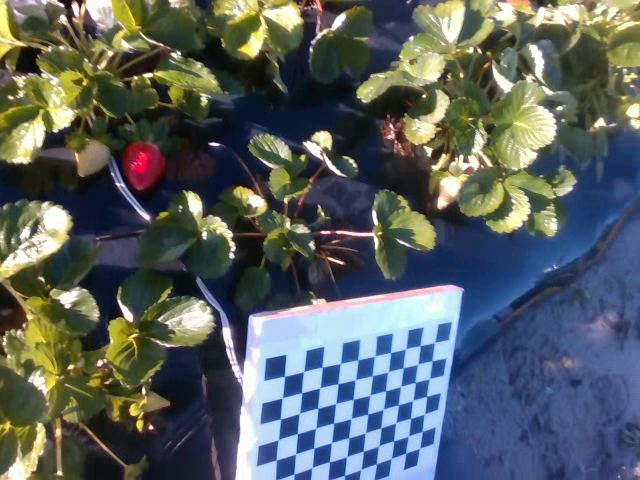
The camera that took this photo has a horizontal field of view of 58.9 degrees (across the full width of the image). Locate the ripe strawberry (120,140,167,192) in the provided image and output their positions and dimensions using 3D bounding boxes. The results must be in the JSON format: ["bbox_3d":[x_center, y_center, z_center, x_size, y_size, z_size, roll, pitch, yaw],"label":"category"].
[{"bbox_3d":[-0.204,-0.092,0.675,0.040,0.080,0.062,-29,-43,34],"label":"ripe strawberry"}]
